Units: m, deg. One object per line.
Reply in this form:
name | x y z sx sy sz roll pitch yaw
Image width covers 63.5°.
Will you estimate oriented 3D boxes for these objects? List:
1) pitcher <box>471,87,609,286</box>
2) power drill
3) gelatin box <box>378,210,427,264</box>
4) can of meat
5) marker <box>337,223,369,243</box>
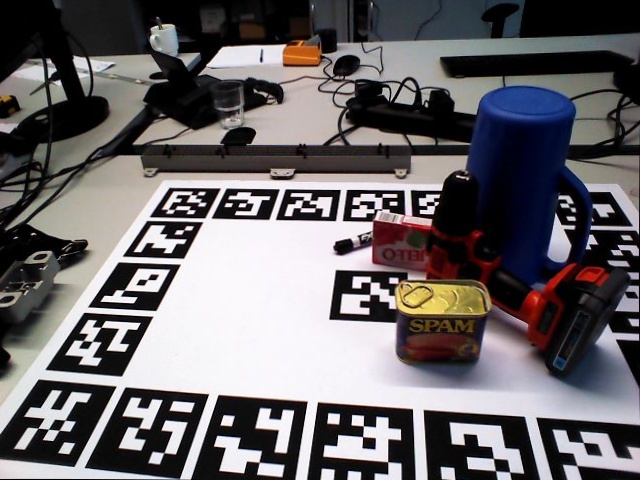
pitcher | 0.265 -0.064 0.655 0.190 0.243 0.132 20 47 39
power drill | 0.204 0.016 0.597 0.187 0.185 0.057 31 53 31
gelatin box | 0.127 -0.003 0.723 0.090 0.073 0.030 10 44 17
can of meat | 0.131 0.090 0.587 0.102 0.084 0.057 1 36 8
marker | 0.083 -0.019 0.789 0.121 0.020 0.019 -15 39 -11
